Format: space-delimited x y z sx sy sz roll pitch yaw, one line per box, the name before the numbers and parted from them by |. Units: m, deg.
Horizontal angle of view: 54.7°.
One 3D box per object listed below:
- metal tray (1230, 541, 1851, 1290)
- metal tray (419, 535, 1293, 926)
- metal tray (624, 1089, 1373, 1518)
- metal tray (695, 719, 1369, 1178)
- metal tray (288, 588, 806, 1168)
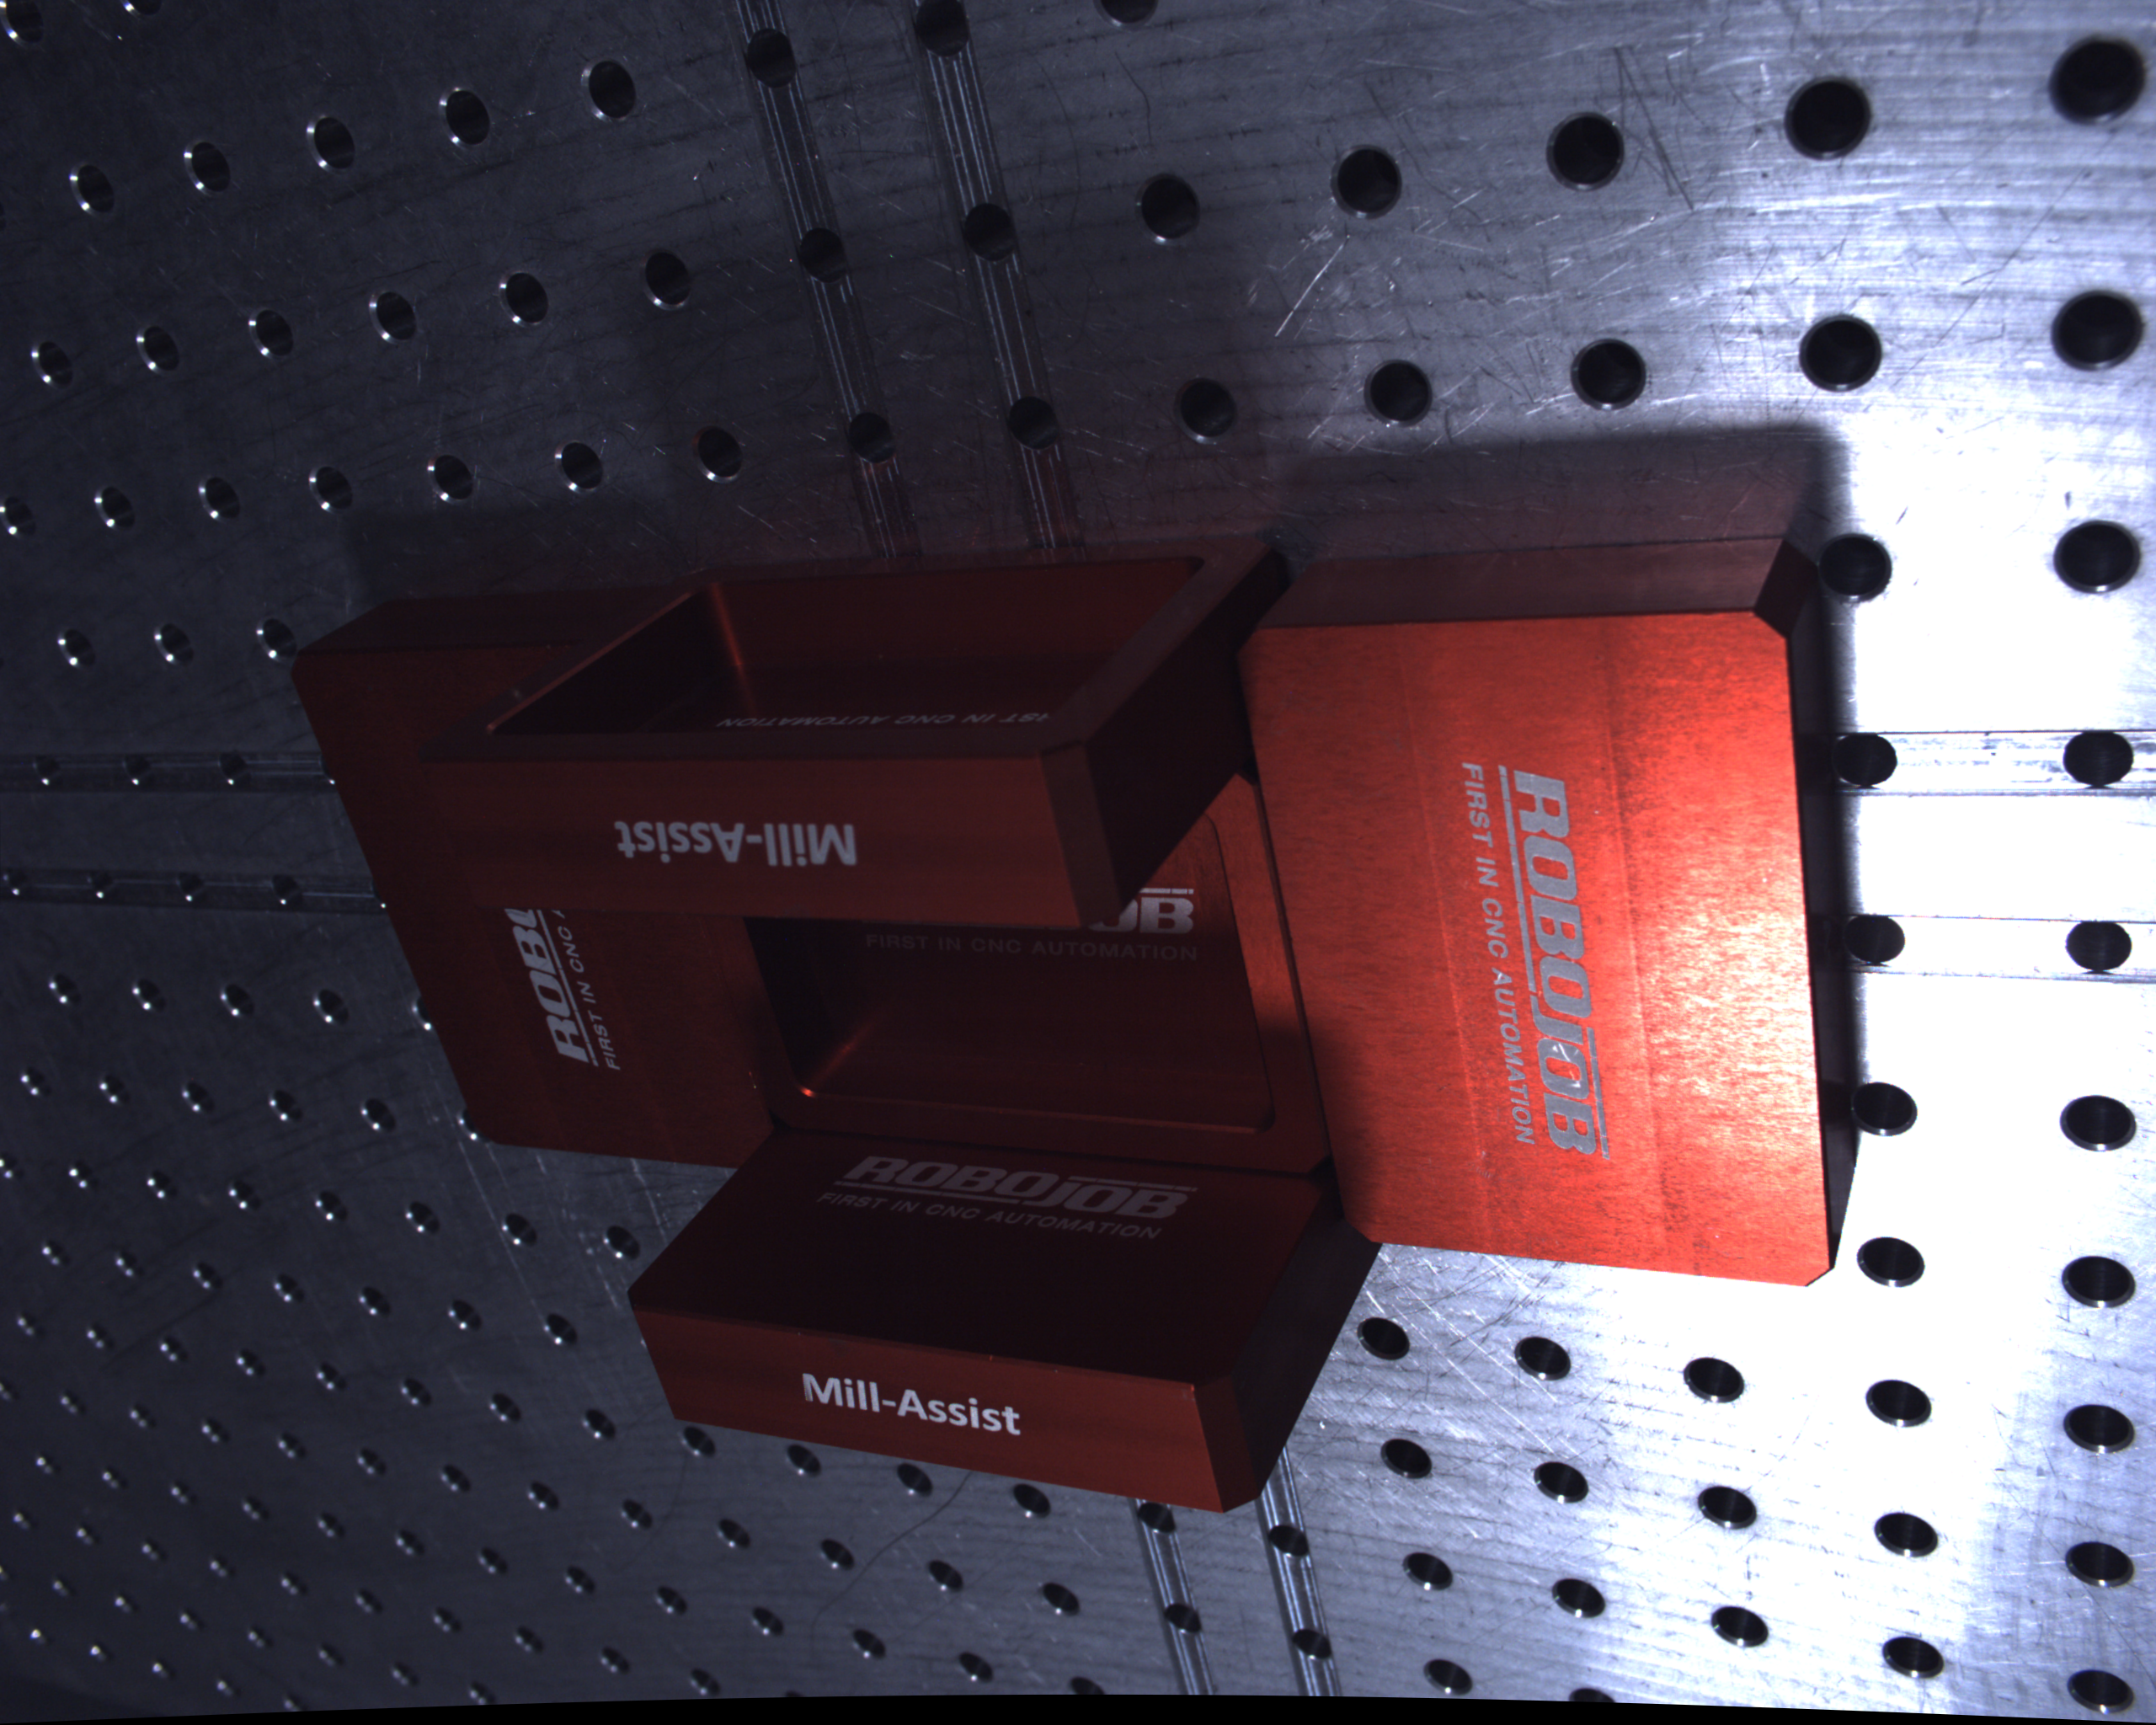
metal tray | 0.084 0.012 0.368 0.090 0.030 0.129 0 119 26
metal tray | -0.037 -0.025 0.372 0.130 0.090 0.030 1 119 27
metal tray | -0.013 0.081 0.422 0.130 0.090 0.030 1 119 27
metal tray | -0.013 0.014 0.419 0.130 0.030 0.089 1 119 27
metal tray | -0.113 0.005 0.468 0.090 0.030 0.129 1 119 27
